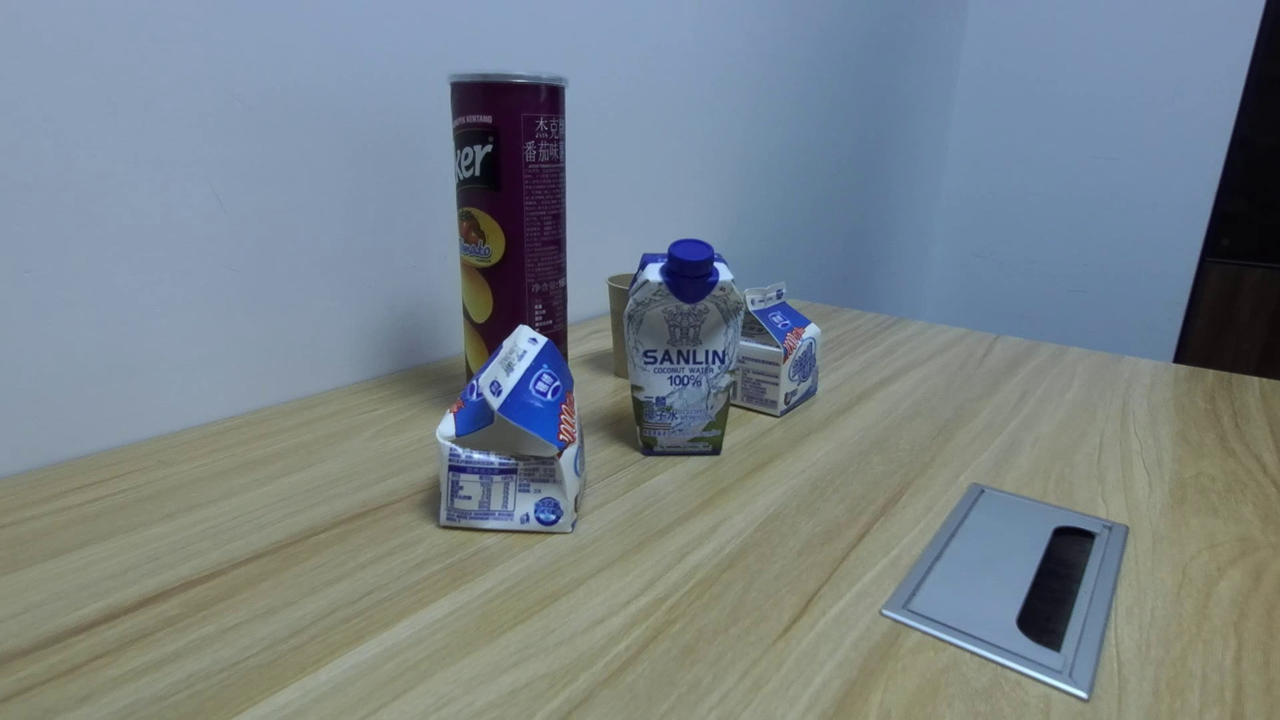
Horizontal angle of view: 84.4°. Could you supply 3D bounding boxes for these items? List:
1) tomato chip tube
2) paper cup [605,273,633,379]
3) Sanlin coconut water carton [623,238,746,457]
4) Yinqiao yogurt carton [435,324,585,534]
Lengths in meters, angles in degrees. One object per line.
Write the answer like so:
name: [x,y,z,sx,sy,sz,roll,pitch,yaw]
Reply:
tomato chip tube: [-0.088,-0.072,0.500,0.078,0.234,0.078,1,17,0]
paper cup: [0.003,-0.032,0.645,0.068,0.081,0.073,9,17,18]
Sanlin coconut water carton: [0.028,-0.009,0.461,0.078,0.142,0.057,0,23,-4]
Yinqiao yogurt carton: [-0.069,0.034,0.396,0.077,0.093,0.083,2,19,1]
